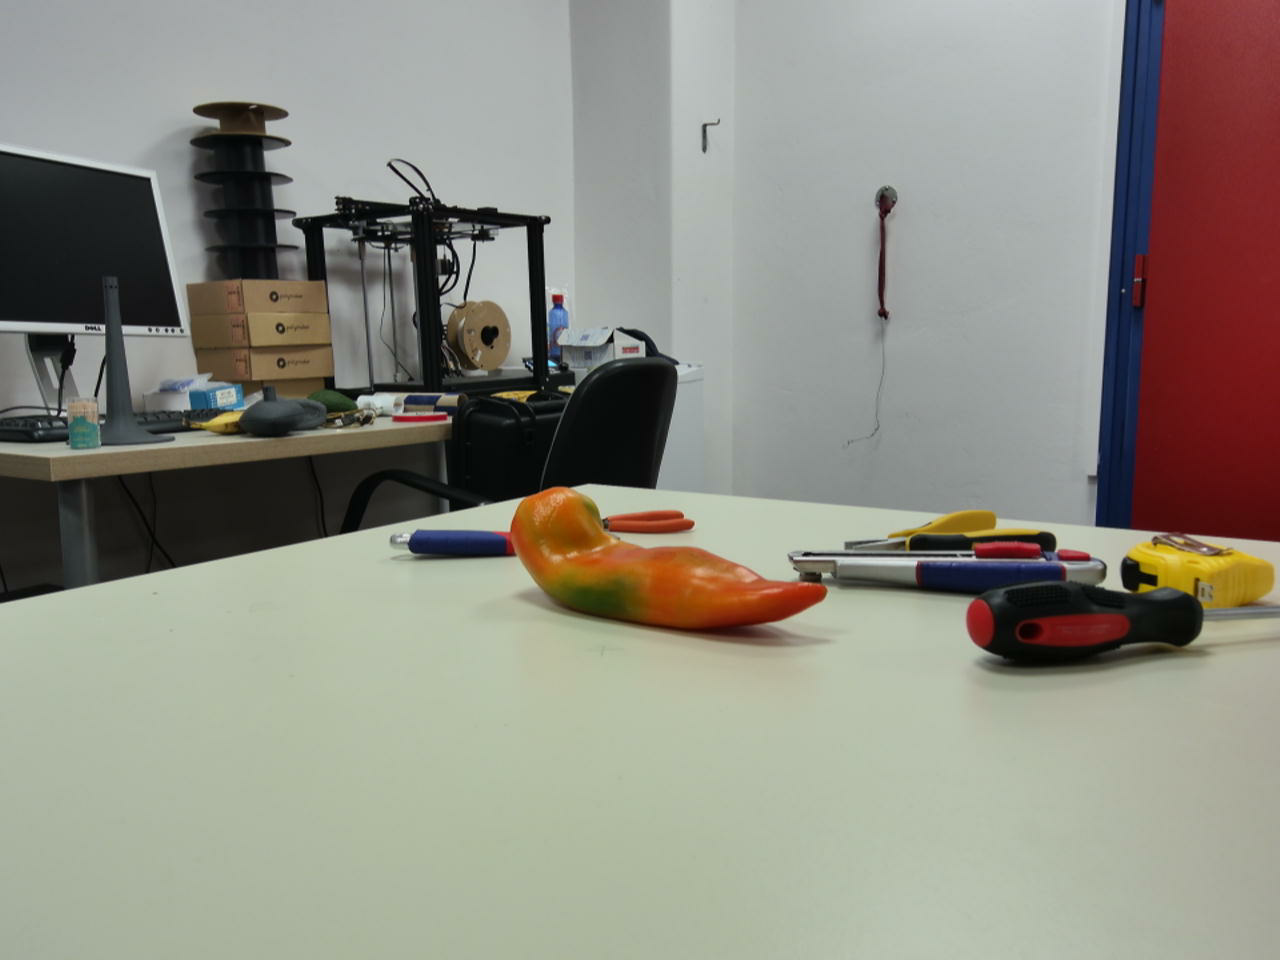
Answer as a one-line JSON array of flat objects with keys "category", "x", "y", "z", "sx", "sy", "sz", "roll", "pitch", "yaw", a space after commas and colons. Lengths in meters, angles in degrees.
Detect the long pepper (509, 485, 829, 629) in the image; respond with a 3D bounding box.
[{"category": "long pepper", "x": 0.007, "y": 0.042, "z": 0.541, "sx": 0.199, "sy": 0.065, "sz": 0.066, "roll": 6, "pitch": 7, "yaw": 41}]
